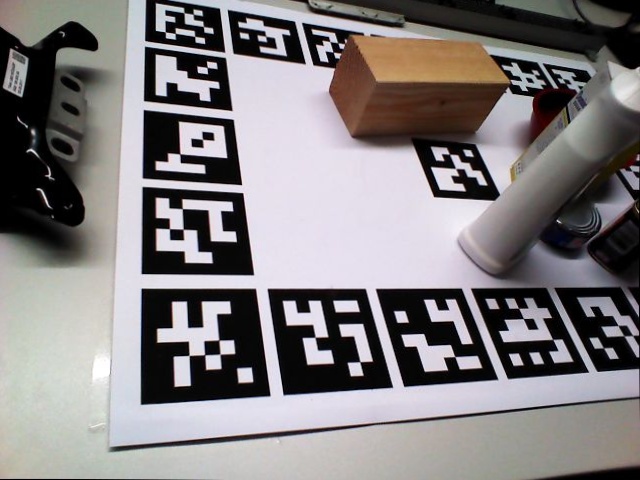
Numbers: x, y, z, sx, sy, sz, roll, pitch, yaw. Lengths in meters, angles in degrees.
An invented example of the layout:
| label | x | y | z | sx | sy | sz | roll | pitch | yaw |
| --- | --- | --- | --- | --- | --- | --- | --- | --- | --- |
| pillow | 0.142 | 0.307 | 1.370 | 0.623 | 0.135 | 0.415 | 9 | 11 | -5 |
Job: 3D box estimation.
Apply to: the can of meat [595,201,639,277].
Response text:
| label | x | y | z | sx | sy | sz | roll | pitch | yaw |
| --- | --- | --- | --- | --- | --- | --- | --- | --- | --- |
| can of meat | 0.397 | -0.011 | 0.633 | 0.101 | 0.084 | 0.058 | -28 | 65 | -36 |

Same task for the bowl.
| label | x | y | z | sx | sy | sz | roll | pitch | yaw |
| --- | --- | --- | --- | --- | --- | --- | --- | --- | --- |
| bowl | 0.381 | -0.142 | 0.739 | 0.161 | 0.055 | 0.160 | 7 | 53 | -10 |

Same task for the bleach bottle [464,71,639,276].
| label | x | y | z | sx | sy | sz | roll | pitch | yaw |
| --- | --- | --- | --- | --- | --- | --- | --- | --- | --- |
| bleach bottle | 0.246 | -0.067 | 0.507 | 0.102 | 0.252 | 0.068 | -23 | 64 | -32 |

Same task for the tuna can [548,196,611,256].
| label | x | y | z | sx | sy | sz | roll | pitch | yaw |
| --- | --- | --- | --- | --- | --- | --- | --- | --- | --- |
| tuna can | 0.307 | -0.024 | 0.633 | 0.086 | 0.034 | 0.085 | 9 | 55 | -13 |

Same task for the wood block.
| label | x | y | z | sx | sy | sz | roll | pitch | yaw |
| --- | --- | --- | --- | --- | --- | --- | --- | --- | --- |
| wood block | 0.133 | -0.195 | 0.670 | 0.205 | 0.090 | 0.090 | -6 | 61 | -25 |

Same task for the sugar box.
| label | x | y | z | sx | sy | sz | roll | pitch | yaw |
| --- | --- | --- | --- | --- | --- | --- | --- | --- | --- |
| sugar box | 0.338 | -0.114 | 0.620 | 0.093 | 0.177 | 0.045 | 17 | 53 | -3 |
